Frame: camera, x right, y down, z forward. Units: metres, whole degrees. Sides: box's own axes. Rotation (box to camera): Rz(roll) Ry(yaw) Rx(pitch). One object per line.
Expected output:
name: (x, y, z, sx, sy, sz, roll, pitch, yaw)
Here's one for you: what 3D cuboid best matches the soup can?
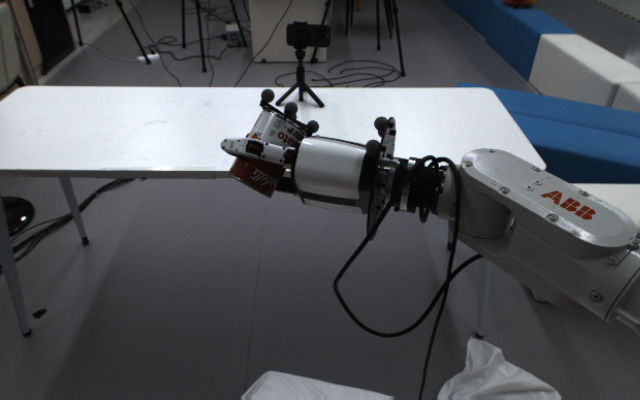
soup can: (-0.071, -0.062, 0.650, 0.067, 0.101, 0.067, 29, -3, 1)
